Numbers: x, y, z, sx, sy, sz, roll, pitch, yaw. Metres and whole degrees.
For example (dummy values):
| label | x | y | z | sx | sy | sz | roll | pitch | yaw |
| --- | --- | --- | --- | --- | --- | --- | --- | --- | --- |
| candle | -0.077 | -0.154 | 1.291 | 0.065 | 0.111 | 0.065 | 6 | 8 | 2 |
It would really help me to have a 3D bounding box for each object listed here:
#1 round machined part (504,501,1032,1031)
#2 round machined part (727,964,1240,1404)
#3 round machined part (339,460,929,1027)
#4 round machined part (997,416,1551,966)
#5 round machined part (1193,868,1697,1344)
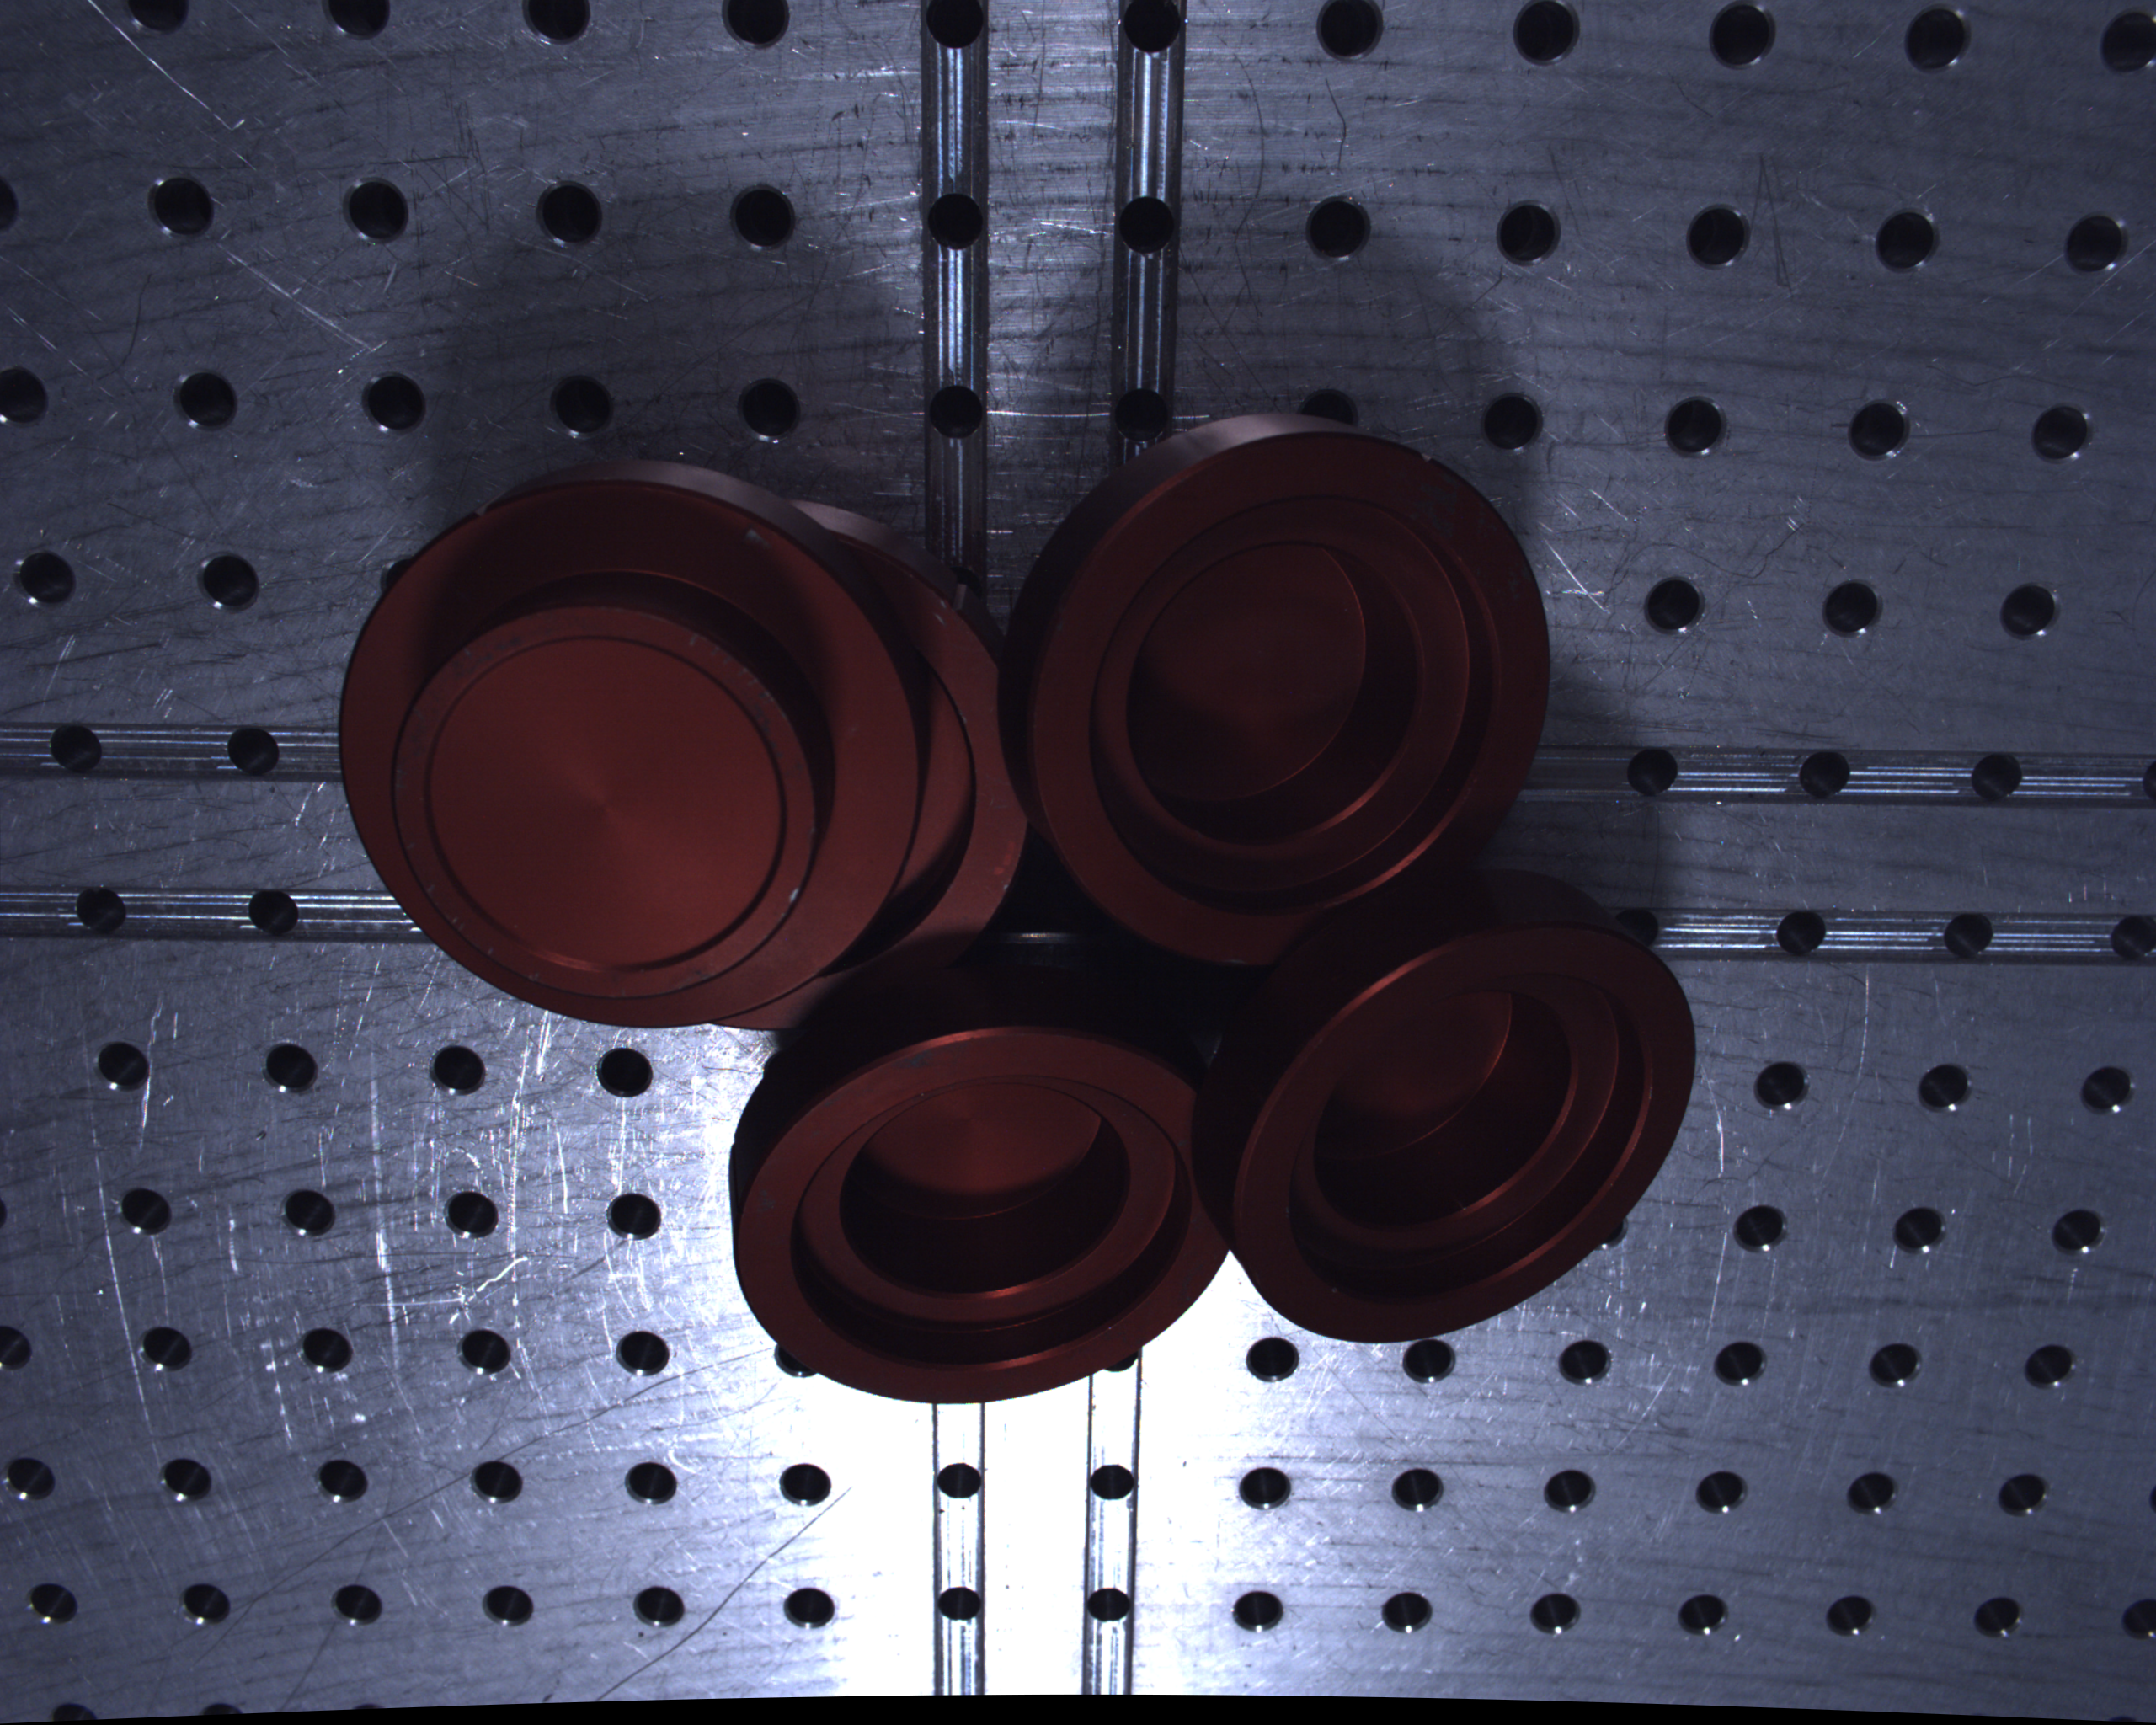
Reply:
| label | x | y | z | sx | sy | sz | roll | pitch | yaw |
| --- | --- | --- | --- | --- | --- | --- | --- | --- | --- |
| round machined part | -0.057 | -0.021 | 0.395 | 0.099 | 0.042 | 0.097 | 0 | 110 | -1 |
| round machined part | -0.020 | 0.059 | 0.416 | 0.099 | 0.042 | 0.097 | -6 | 125 | -8 |
| round machined part | -0.075 | -0.016 | 0.352 | 0.099 | 0.042 | 0.097 | 0 | 110 | -1 |
| round machined part | 0.033 | -0.034 | 0.383 | 0.099 | 0.042 | 0.097 | -6 | 112 | -16 |
| round machined part | 0.067 | 0.043 | 0.409 | 0.099 | 0.042 | 0.097 | -11 | 123 | -18 |
